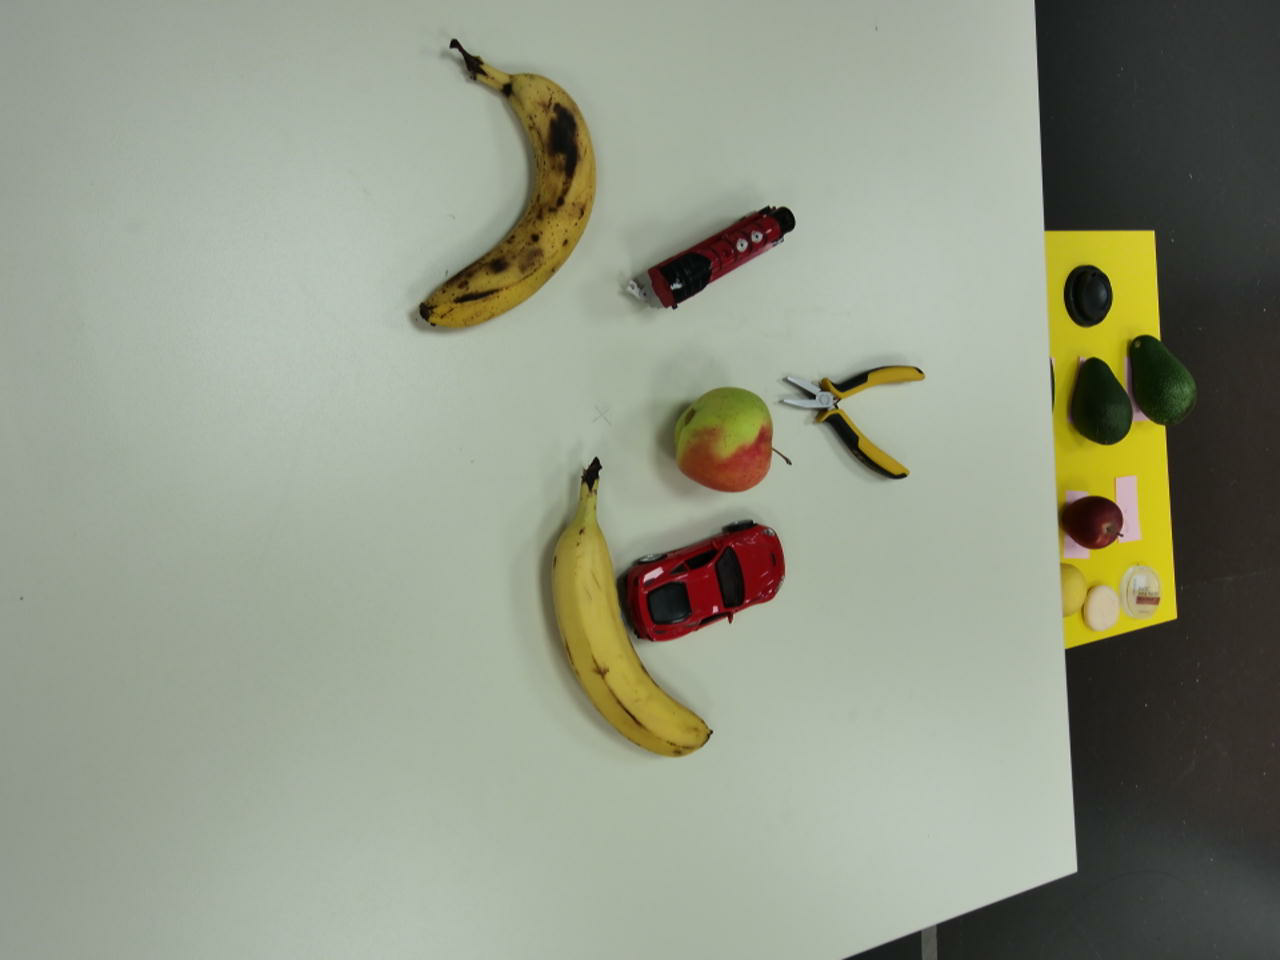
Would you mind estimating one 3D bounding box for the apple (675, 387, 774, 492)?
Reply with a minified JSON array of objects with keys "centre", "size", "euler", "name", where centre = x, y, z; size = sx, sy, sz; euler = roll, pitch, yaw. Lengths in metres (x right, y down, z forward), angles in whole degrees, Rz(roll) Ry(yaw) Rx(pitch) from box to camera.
[{"centre":[0.062,-0.027,0.717],"size":[0.075,0.074,0.075],"euler":[-26,103,-26],"name":"apple"}]
